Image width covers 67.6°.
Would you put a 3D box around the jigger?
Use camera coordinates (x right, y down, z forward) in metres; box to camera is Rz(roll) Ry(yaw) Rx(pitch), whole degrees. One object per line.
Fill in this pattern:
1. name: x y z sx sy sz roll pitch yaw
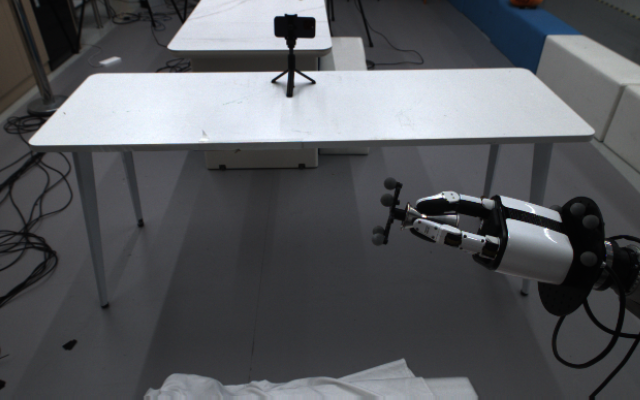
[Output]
1. jigger: 0.152 0.027 0.645 0.071 0.043 0.043 14 36 4
